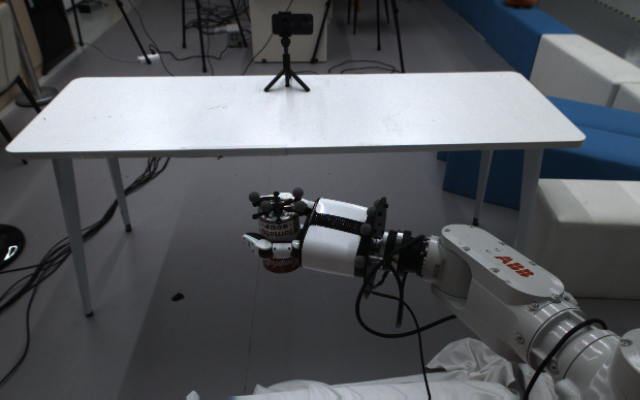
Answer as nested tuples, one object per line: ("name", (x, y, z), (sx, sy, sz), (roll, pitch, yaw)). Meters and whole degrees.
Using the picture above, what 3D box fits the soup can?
("soup can", (-0.063, 0.058, 0.777), (0.067, 0.101, 0.067), (-2, 32, 1))
